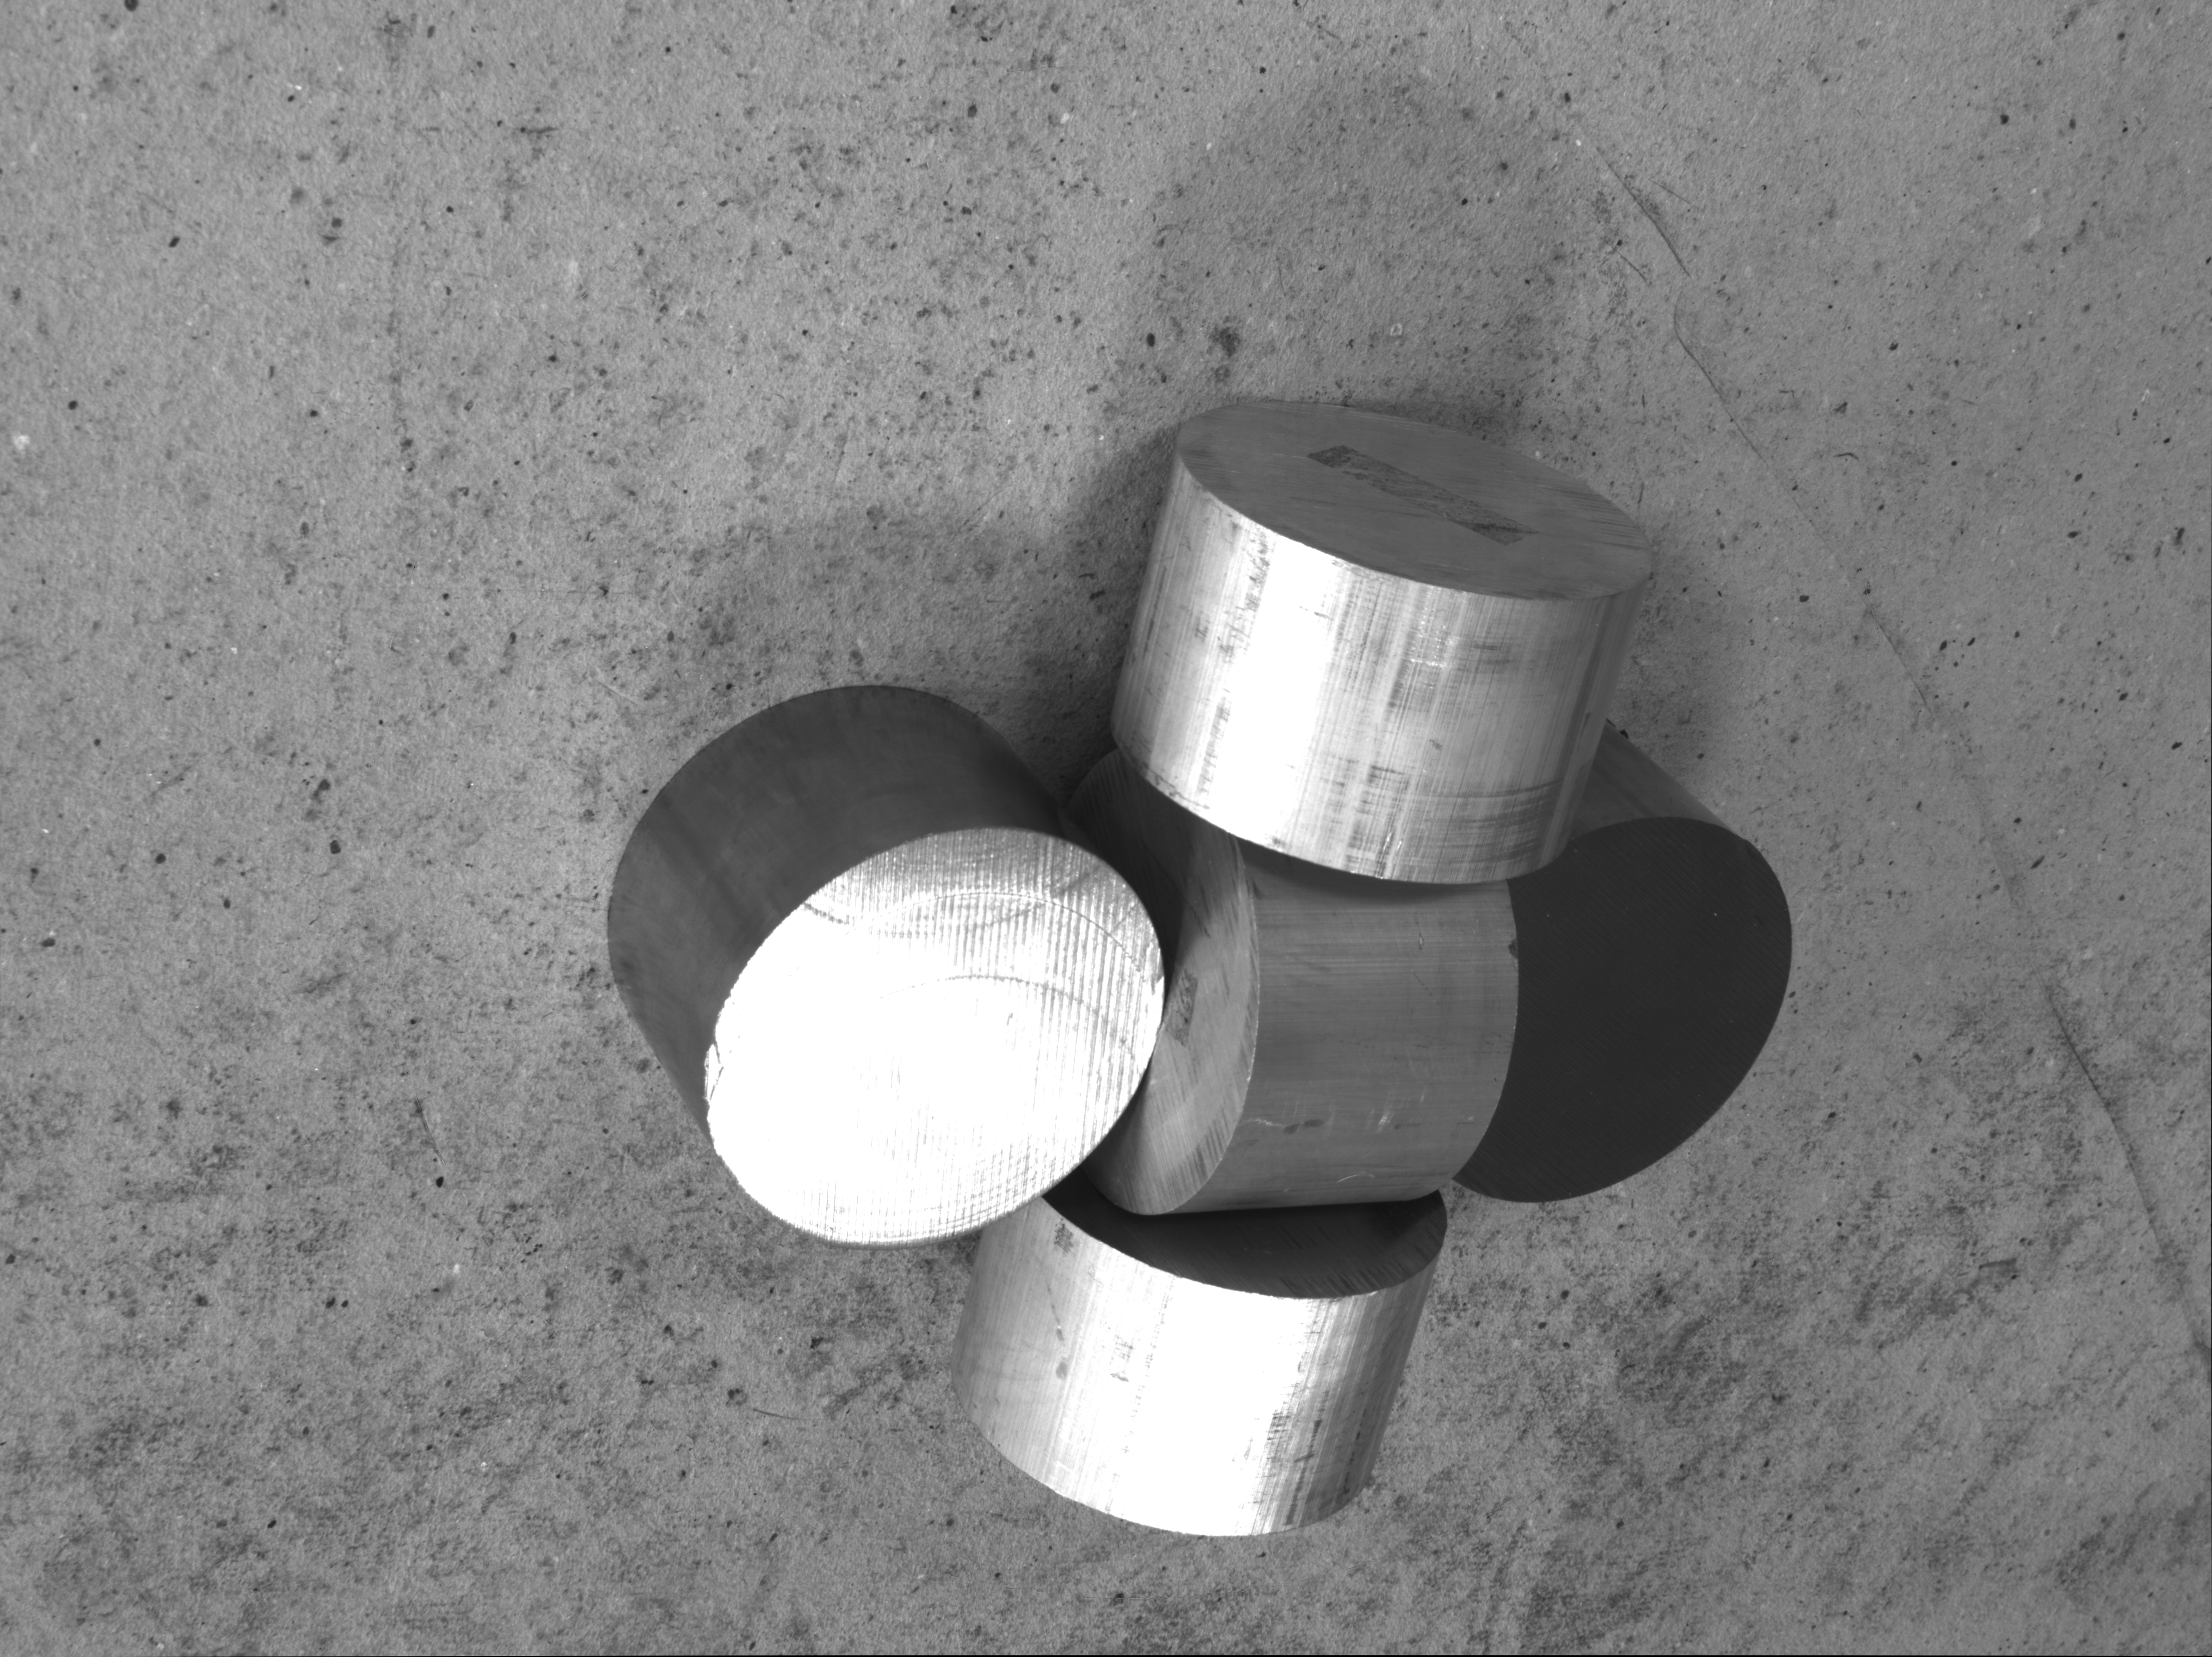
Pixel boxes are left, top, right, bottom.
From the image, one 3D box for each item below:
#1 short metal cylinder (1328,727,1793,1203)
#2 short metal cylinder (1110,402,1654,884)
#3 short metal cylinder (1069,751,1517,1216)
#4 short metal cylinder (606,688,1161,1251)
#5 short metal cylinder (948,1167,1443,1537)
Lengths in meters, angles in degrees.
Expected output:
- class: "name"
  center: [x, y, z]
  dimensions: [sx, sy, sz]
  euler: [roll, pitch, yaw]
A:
- class: "short metal cylinder"
  center: [0.079, 0.022, 0.676]
  dimensions: [0.080, 0.050, 0.080]
  euler: [-13, 124, -21]
- class: "short metal cylinder"
  center: [0.045, -0.032, 0.607]
  dimensions: [0.080, 0.080, 0.050]
  euler: [0, 118, -28]
- class: "short metal cylinder"
  center: [0.028, 0.026, 0.633]
  dimensions: [0.050, 0.080, 0.080]
  euler: [1, 118, -28]
- class: "short metal cylinder"
  center: [-0.038, 0.023, 0.615]
  dimensions: [0.080, 0.050, 0.080]
  euler: [-14, 124, -21]
- class: "short metal cylinder"
  center: [0.016, 0.083, 0.662]
  dimensions: [0.080, 0.080, 0.050]
  euler: [0, 118, -28]
